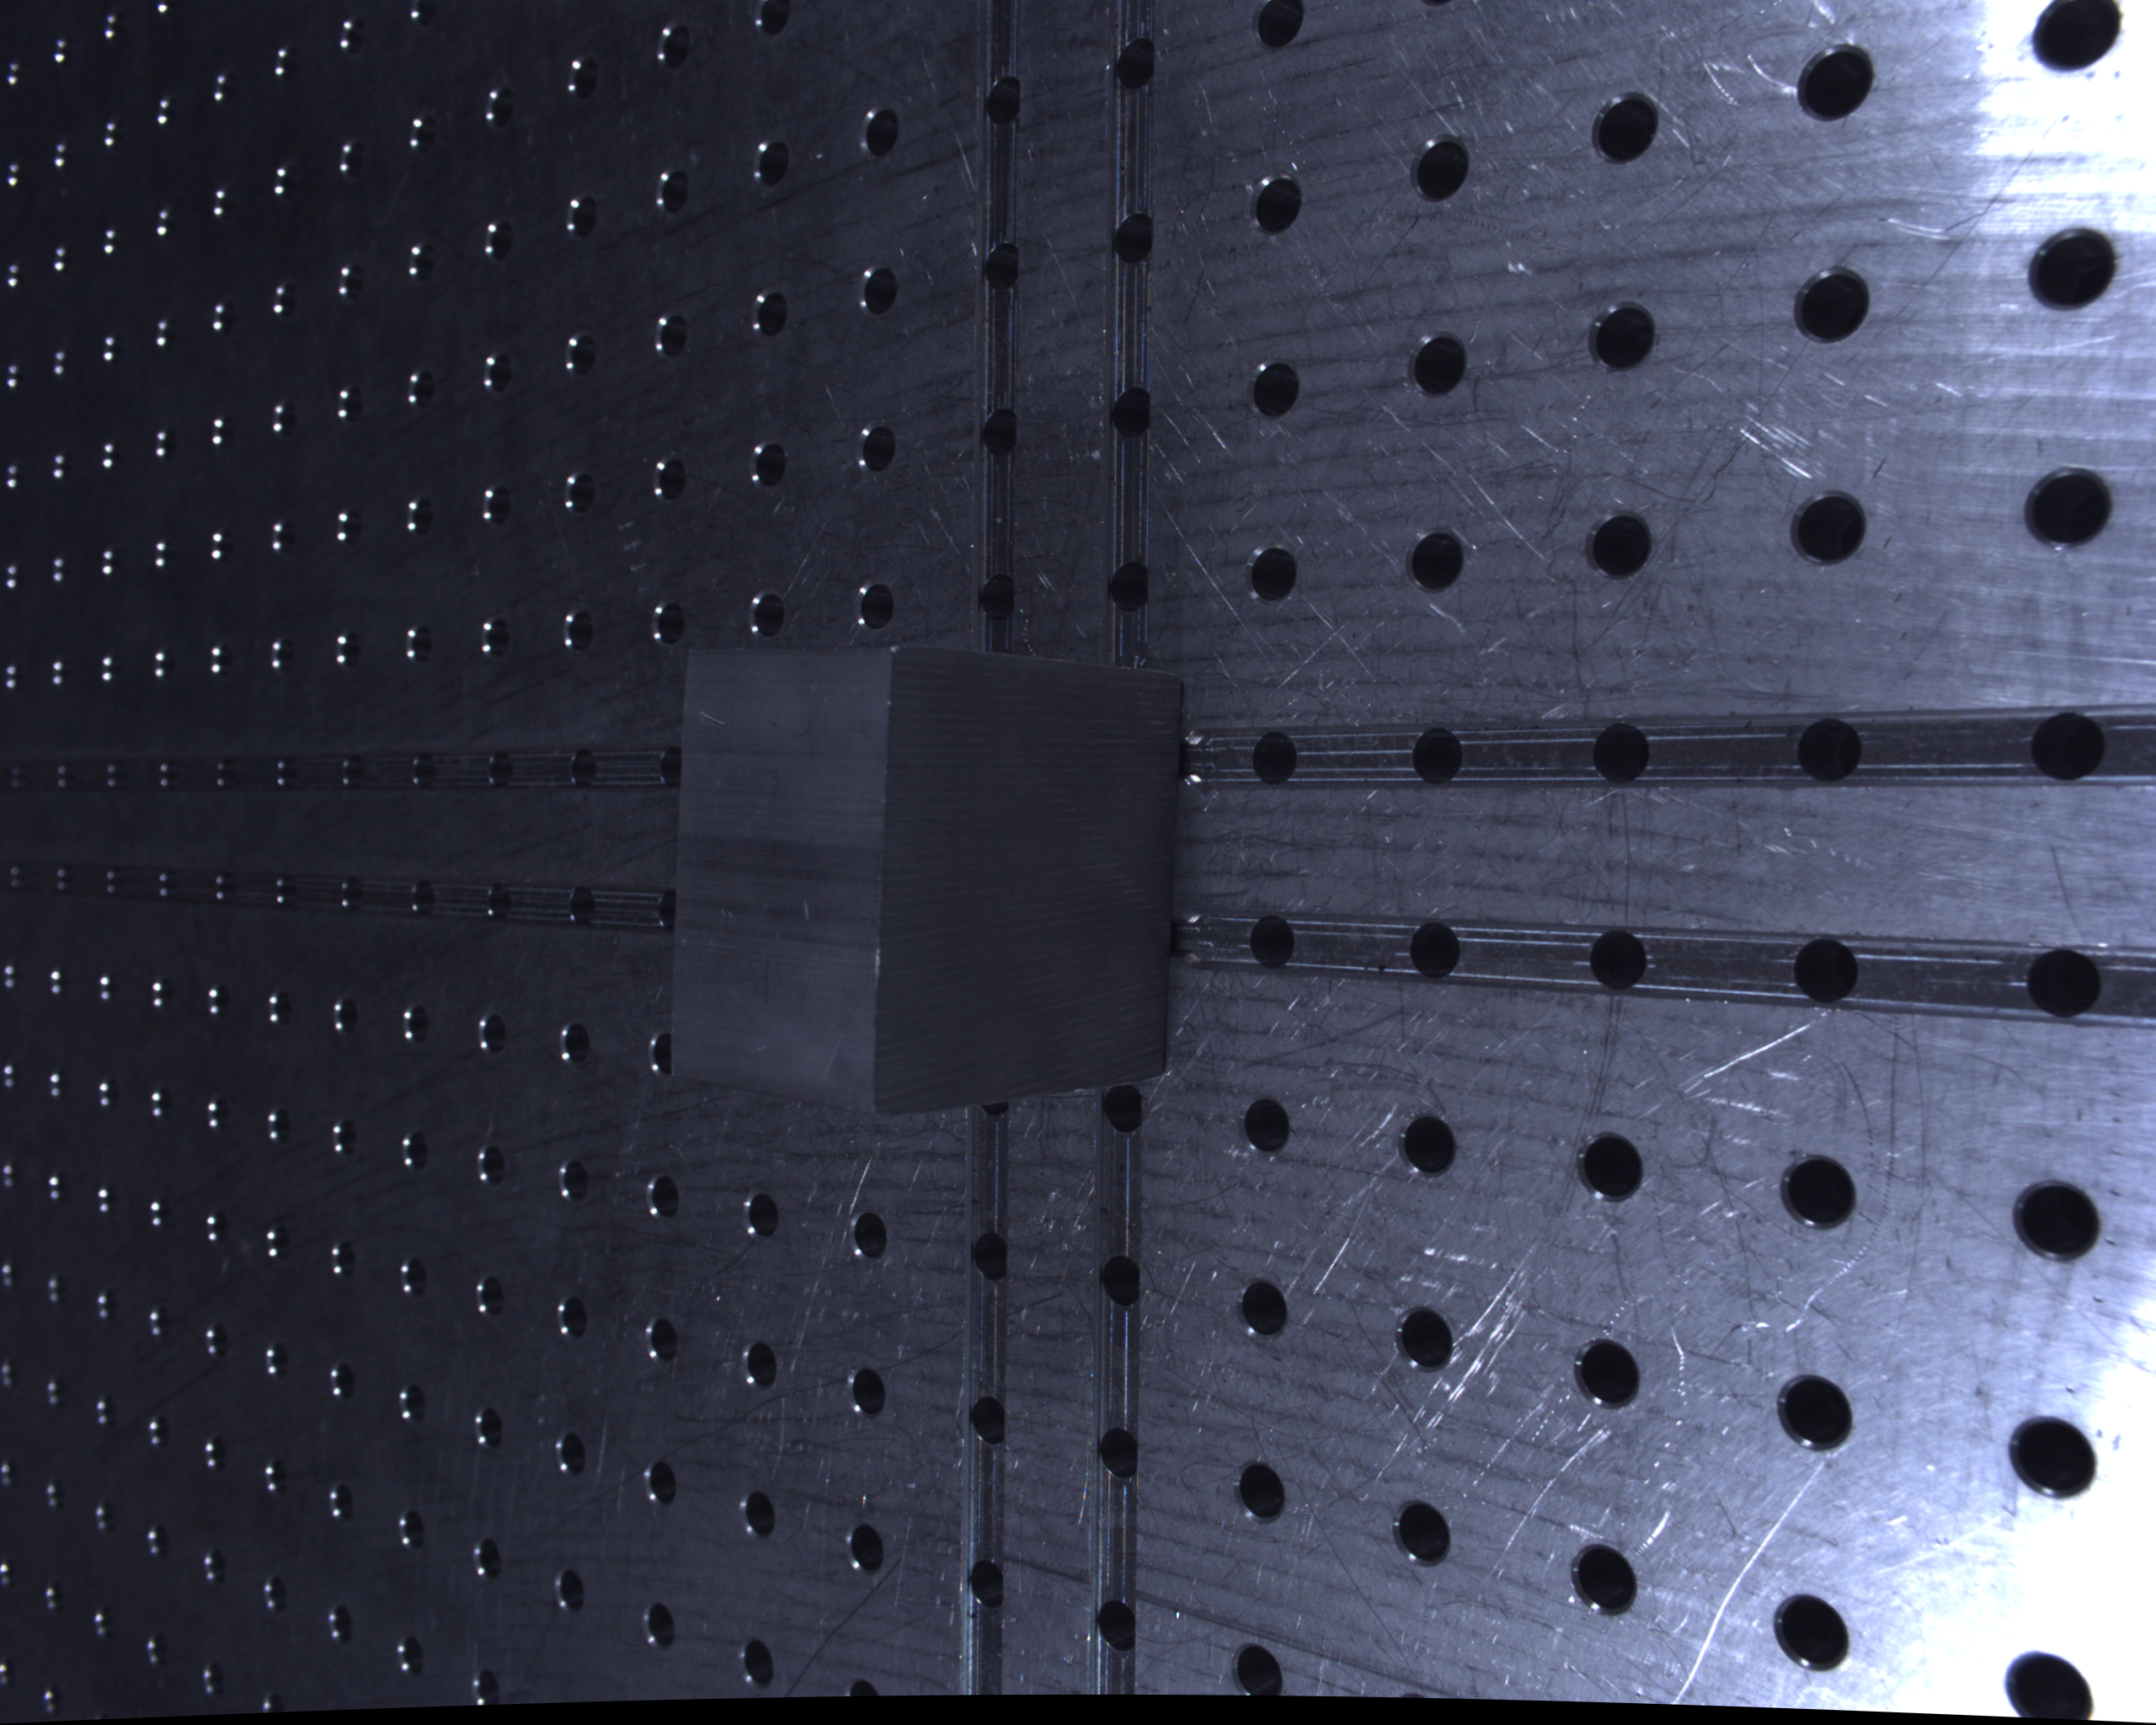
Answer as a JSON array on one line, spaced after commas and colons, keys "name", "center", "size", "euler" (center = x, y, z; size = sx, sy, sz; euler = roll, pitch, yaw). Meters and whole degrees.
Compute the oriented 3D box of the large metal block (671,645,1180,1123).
[{"name": "large metal block", "center": [-0.027, 0.002, 0.393], "size": [0.050, 0.081, 0.079], "euler": [5, 93, 39]}]
